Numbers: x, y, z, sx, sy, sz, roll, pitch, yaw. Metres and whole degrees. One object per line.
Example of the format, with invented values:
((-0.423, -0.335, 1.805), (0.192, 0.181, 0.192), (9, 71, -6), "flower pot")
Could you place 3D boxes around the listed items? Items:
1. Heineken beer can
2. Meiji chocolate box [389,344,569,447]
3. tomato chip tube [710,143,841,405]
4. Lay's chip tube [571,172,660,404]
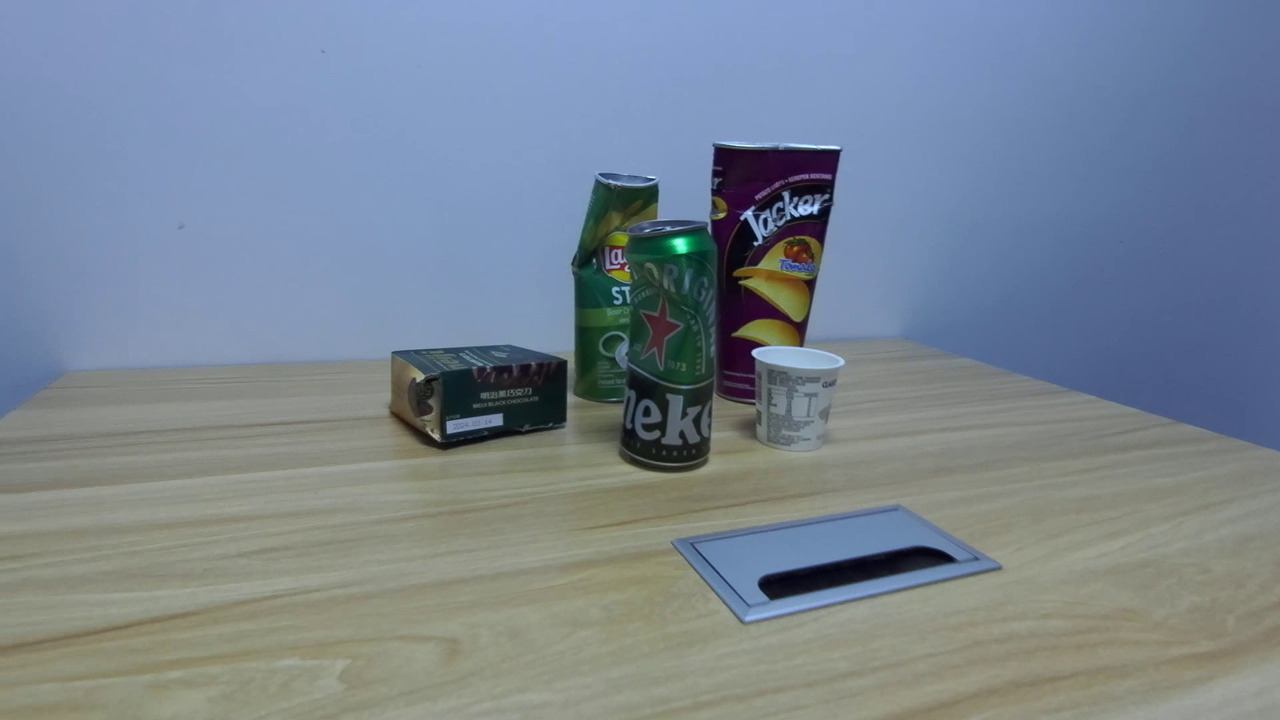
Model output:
((0.018, -0.010, 0.495), (0.069, 0.168, 0.068), (3, 13, 17), "Heineken beer can")
((-0.133, 0.023, 0.575), (0.123, 0.058, 0.115), (-6, 14, -37), "Meiji chocolate box")
((0.114, -0.080, 0.657), (0.078, 0.235, 0.089), (-11, 22, -43), "tomato chip tube")
((-0.023, -0.066, 0.646), (0.069, 0.201, 0.077), (4, 17, 2), "Lay's chip tube")
